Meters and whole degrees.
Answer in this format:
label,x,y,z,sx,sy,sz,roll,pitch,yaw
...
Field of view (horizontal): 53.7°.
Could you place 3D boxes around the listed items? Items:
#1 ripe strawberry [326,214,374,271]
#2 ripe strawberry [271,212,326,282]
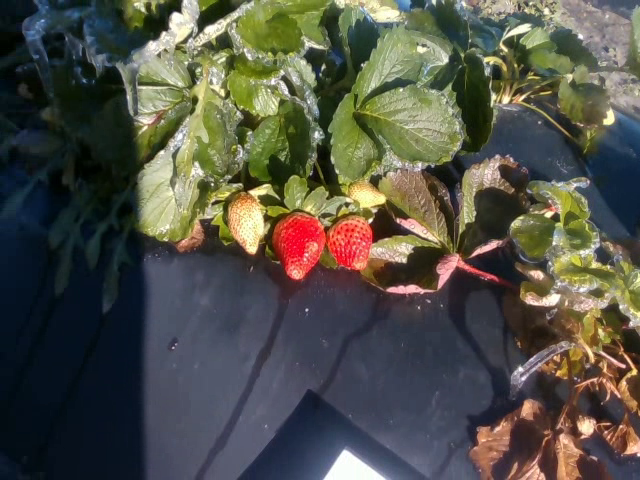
label,x,y,z,sx,sy,sz,roll,pitch,yaw
ripe strawberry,0.022,0.003,0.407,0.036,0.041,0.030,-28,-18,-2
ripe strawberry,-0.014,0.009,0.391,0.036,0.040,0.052,-4,40,3
